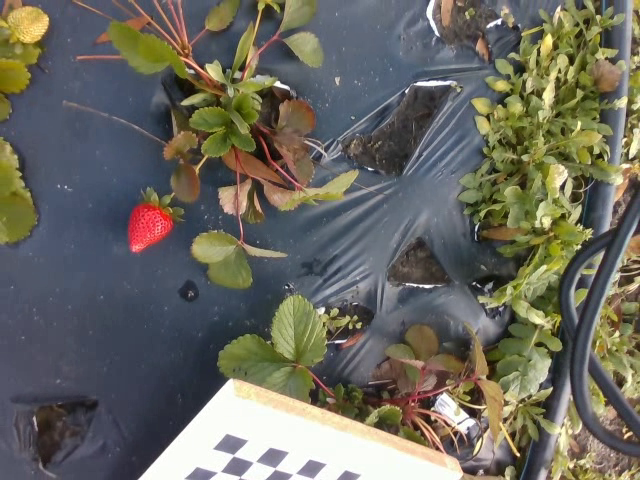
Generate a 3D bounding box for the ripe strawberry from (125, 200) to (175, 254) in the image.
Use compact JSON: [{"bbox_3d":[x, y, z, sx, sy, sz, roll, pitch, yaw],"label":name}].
[{"bbox_3d":[-0.142,-0.005,0.530,0.041,0.052,0.045,9,-29,31],"label":"ripe strawberry"}]
